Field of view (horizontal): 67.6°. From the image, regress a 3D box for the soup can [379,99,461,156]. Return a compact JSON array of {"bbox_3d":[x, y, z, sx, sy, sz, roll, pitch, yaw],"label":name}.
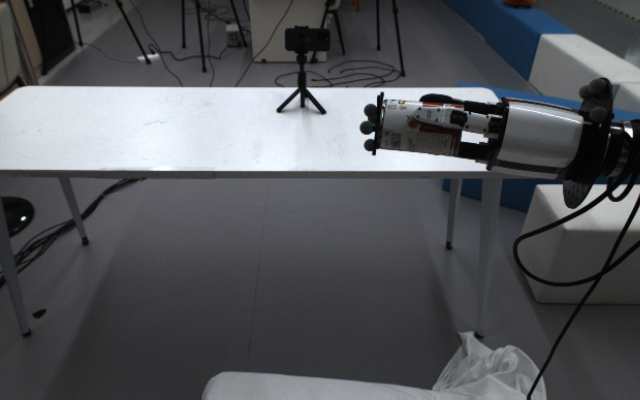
[{"bbox_3d":[0.133,-0.097,0.635,0.101,0.067,0.067,6,35,10],"label":"soup can"}]
